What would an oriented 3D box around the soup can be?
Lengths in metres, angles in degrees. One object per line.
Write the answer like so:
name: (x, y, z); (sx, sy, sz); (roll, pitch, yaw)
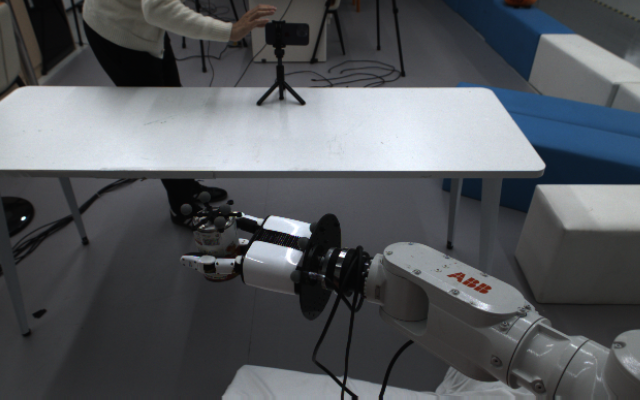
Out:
soup can: (-0.160, 0.072, 0.763); (0.067, 0.101, 0.067); (-2, 32, 1)
